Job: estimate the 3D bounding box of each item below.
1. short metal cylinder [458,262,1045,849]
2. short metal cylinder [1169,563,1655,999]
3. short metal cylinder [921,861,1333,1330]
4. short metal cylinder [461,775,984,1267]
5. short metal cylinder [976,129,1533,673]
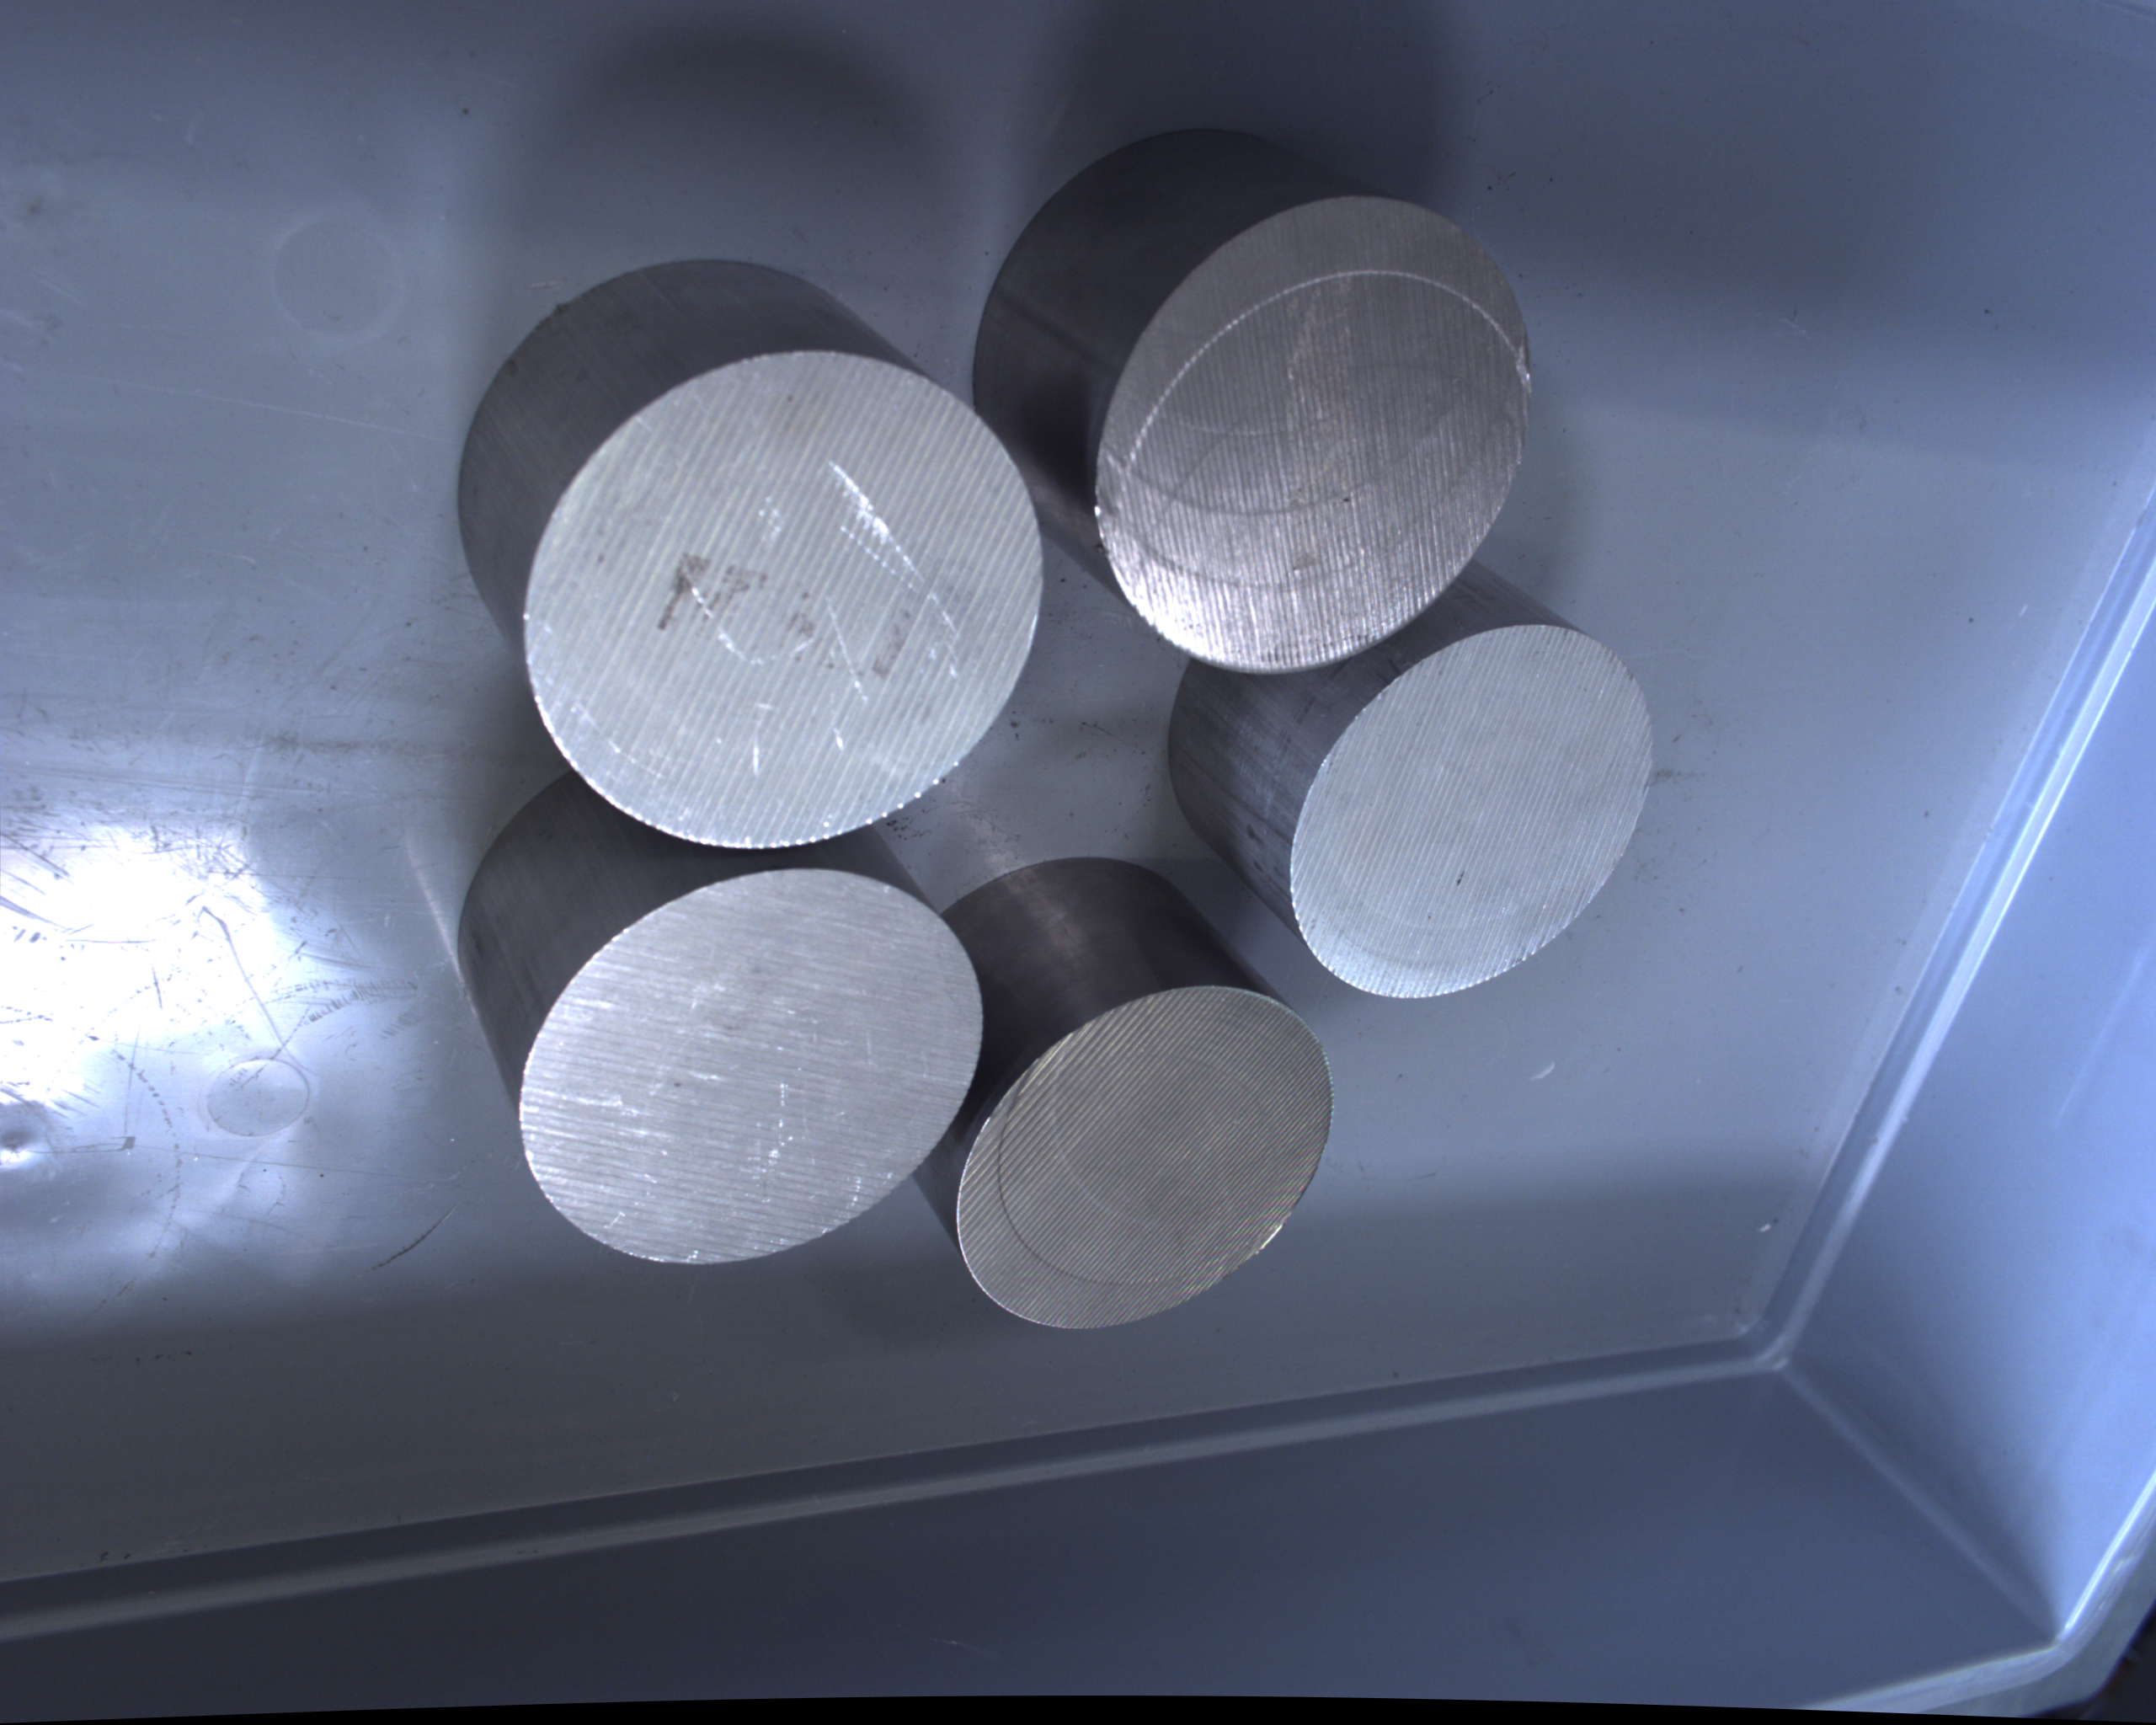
[{"bbox_3d":[-0.052,-0.049,0.331,0.081,0.050,0.079,-14,124,-21],"label":"short metal cylinder"},{"bbox_3d":[0.065,-0.020,0.413,0.081,0.050,0.079,-14,124,-21],"label":"short metal cylinder"},{"bbox_3d":[0.004,0.046,0.420,0.081,0.050,0.079,-14,124,-21],"label":"short metal cylinder"},{"bbox_3d":[-0.064,0.024,0.370,0.081,0.050,0.079,-14,124,-21],"label":"short metal cylinder"},{"bbox_3d":[0.029,-0.079,0.357,0.081,0.050,0.079,-14,124,-21],"label":"short metal cylinder"}]
